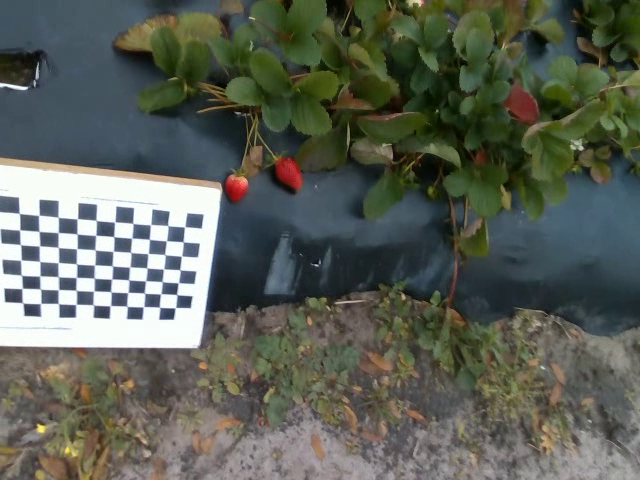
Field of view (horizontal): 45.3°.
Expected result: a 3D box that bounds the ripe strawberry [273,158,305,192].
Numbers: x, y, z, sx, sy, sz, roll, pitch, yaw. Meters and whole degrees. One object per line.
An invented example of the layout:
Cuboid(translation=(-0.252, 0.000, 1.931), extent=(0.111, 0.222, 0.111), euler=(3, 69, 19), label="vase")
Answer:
Cuboid(translation=(-0.037, -0.101, 1.118), extent=(0.044, 0.059, 0.042), euler=(-32, 10, 10), label="ripe strawberry")

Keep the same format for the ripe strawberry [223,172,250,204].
Cuboid(translation=(-0.108, -0.077, 1.088), extent=(0.036, 0.041, 0.027), euler=(8, 5, -14), label="ripe strawberry")
